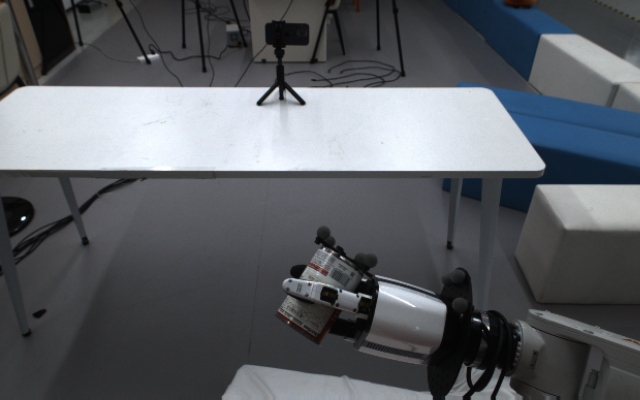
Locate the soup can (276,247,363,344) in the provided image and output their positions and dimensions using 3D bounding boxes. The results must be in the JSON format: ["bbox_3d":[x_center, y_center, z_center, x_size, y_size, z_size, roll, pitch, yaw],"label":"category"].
[{"bbox_3d":[0.001,0.116,0.598,0.067,0.067,0.101,27,76,31],"label":"soup can"}]
